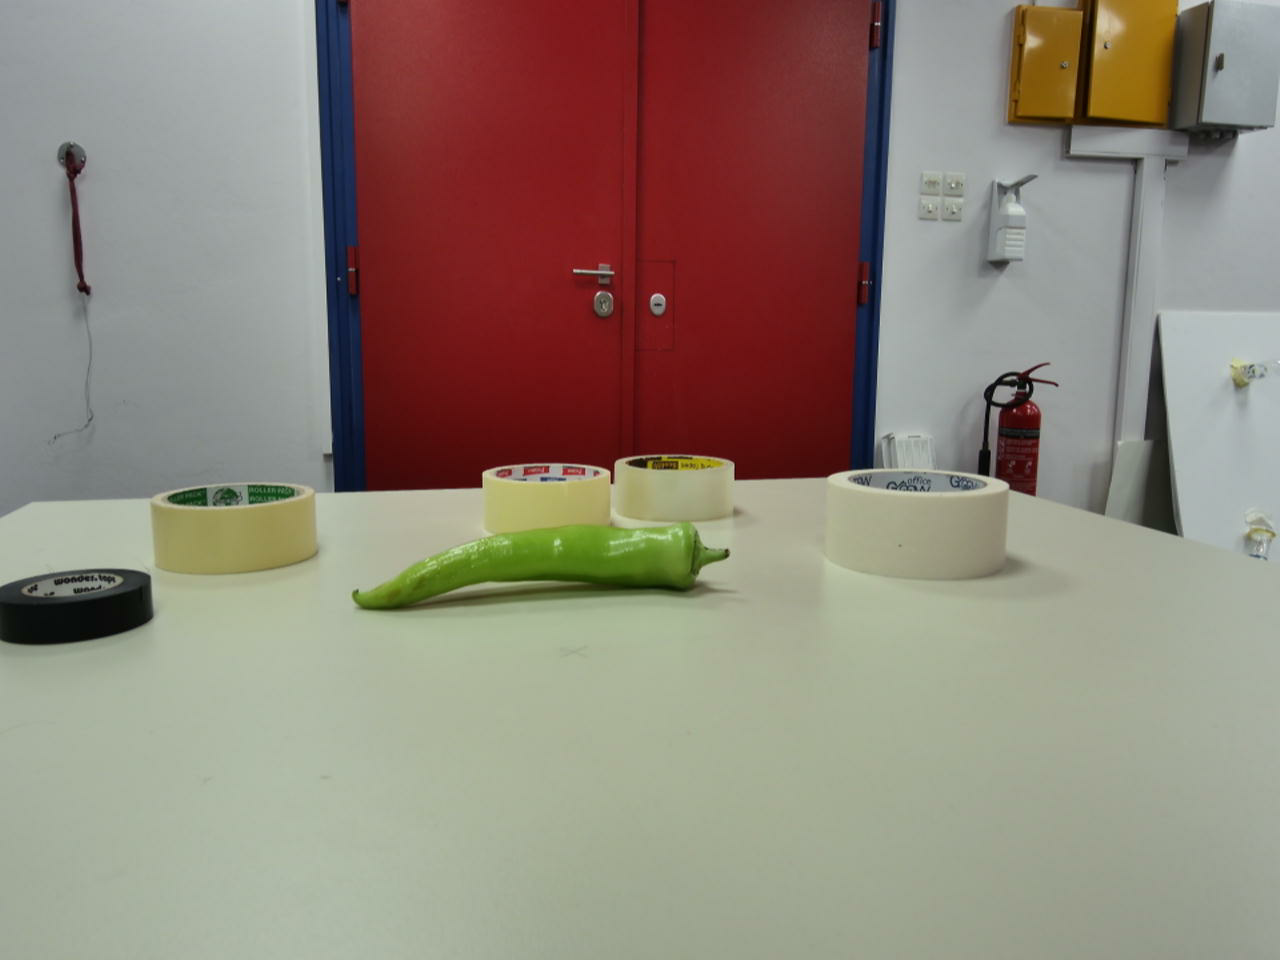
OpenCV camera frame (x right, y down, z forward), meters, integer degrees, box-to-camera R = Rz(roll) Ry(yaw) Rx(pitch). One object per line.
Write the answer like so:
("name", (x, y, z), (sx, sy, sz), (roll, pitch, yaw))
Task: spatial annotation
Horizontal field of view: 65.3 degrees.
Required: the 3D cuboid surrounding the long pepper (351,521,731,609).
("long pepper", (-0.051, 0.043, 0.532), (0.197, 0.038, 0.047), (-1, 7, -11))
